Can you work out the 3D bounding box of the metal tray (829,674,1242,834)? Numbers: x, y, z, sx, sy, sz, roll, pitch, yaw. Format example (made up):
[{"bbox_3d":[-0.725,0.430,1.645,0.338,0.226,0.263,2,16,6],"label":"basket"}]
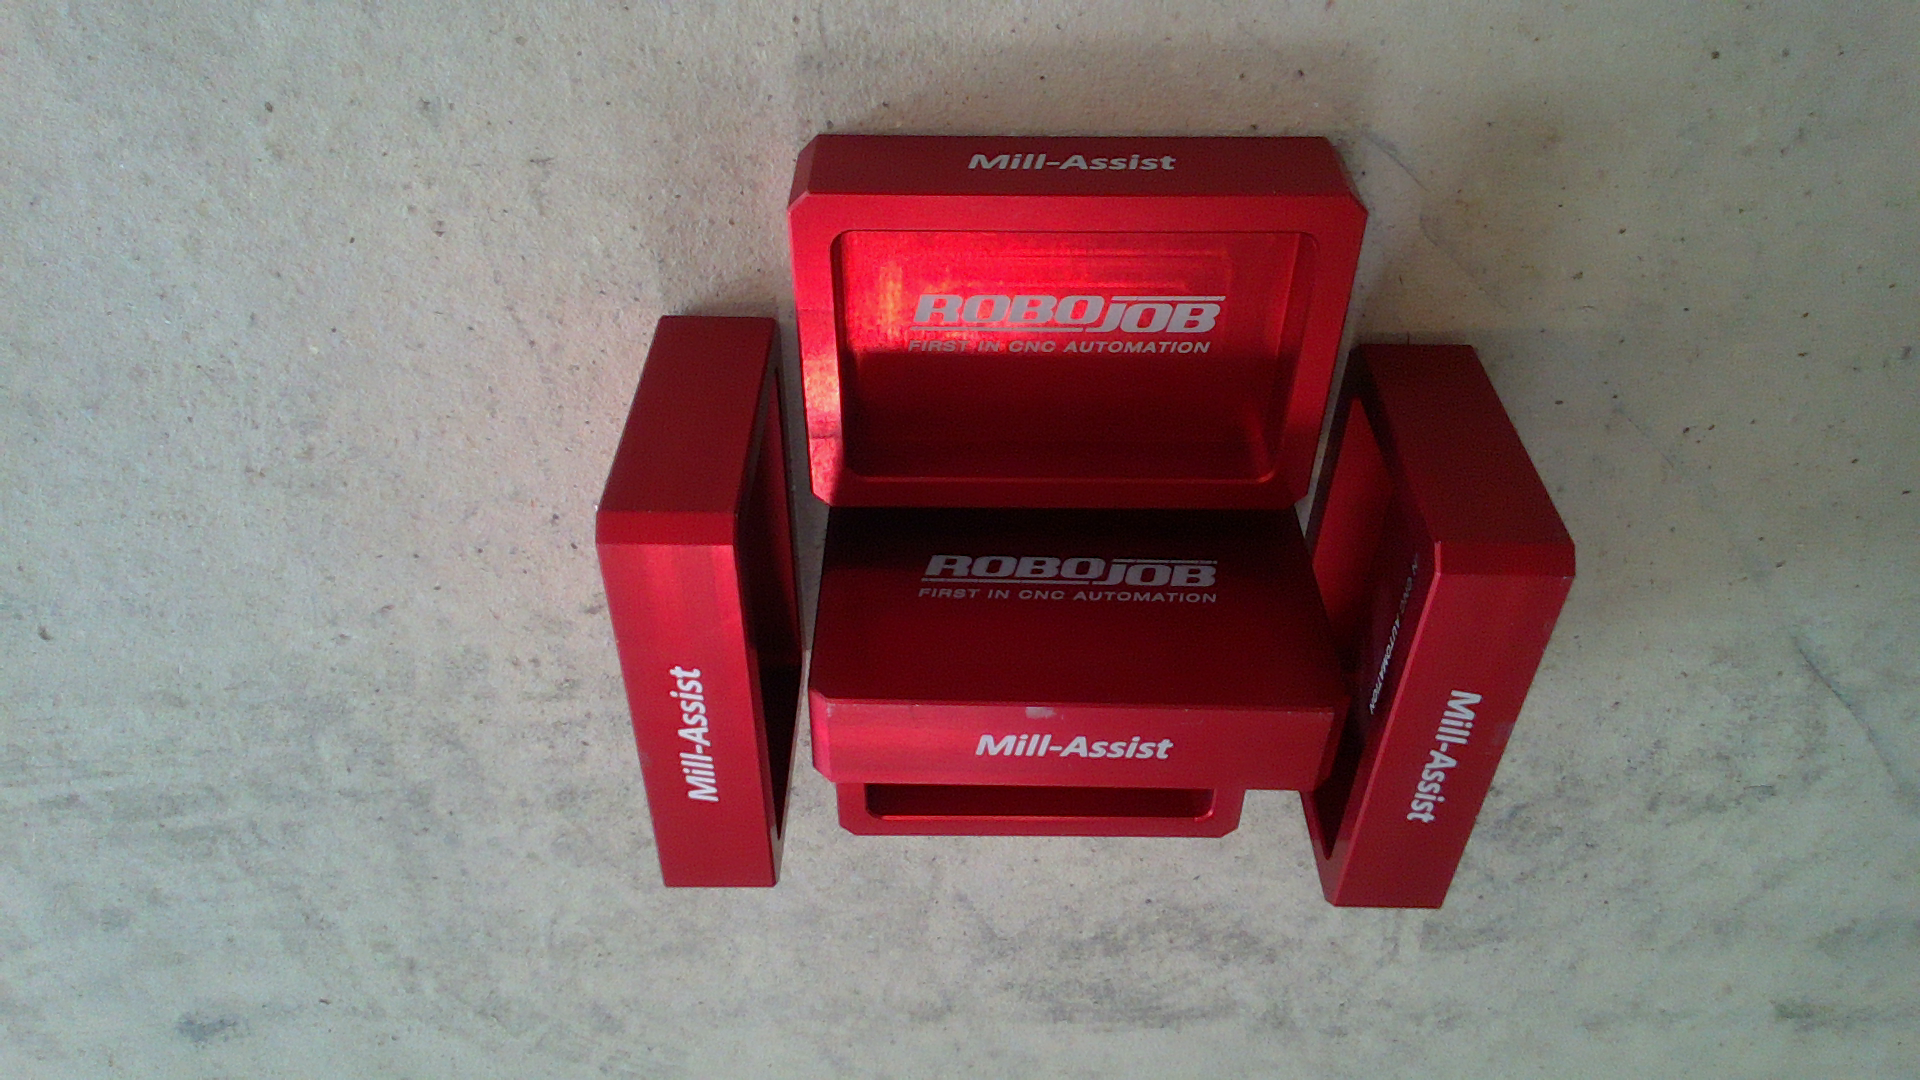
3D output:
[{"bbox_3d":[0.025,0.052,0.434,0.130,0.030,0.090,0,129,-1],"label":"metal tray"}]

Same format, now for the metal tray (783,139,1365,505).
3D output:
[{"bbox_3d":[0.026,-0.052,0.344,0.130,0.030,0.090,0,133,0],"label":"metal tray"}]

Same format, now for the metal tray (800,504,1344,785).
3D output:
[{"bbox_3d":[0.027,0.020,0.367,0.130,0.090,0.030,1,131,-1],"label":"metal tray"}]

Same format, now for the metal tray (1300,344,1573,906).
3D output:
[{"bbox_3d":[0.117,0.025,0.370,0.030,0.090,0.130,1,130,-1],"label":"metal tray"}]

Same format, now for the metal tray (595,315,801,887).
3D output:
[{"bbox_3d":[-0.063,0.018,0.363,0.030,0.090,0.130,0,131,-1],"label":"metal tray"}]
